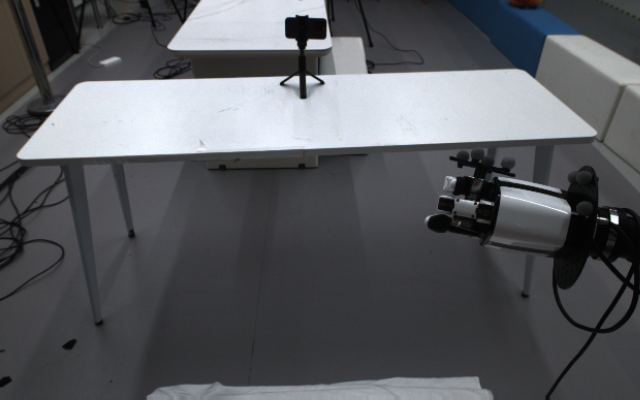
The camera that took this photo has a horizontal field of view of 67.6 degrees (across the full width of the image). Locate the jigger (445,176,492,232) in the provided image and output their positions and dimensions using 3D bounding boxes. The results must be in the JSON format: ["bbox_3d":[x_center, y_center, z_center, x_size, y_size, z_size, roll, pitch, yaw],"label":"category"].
[{"bbox_3d":[0.202,0.004,0.644,0.043,0.071,0.043,17,2,-1],"label":"jigger"}]
